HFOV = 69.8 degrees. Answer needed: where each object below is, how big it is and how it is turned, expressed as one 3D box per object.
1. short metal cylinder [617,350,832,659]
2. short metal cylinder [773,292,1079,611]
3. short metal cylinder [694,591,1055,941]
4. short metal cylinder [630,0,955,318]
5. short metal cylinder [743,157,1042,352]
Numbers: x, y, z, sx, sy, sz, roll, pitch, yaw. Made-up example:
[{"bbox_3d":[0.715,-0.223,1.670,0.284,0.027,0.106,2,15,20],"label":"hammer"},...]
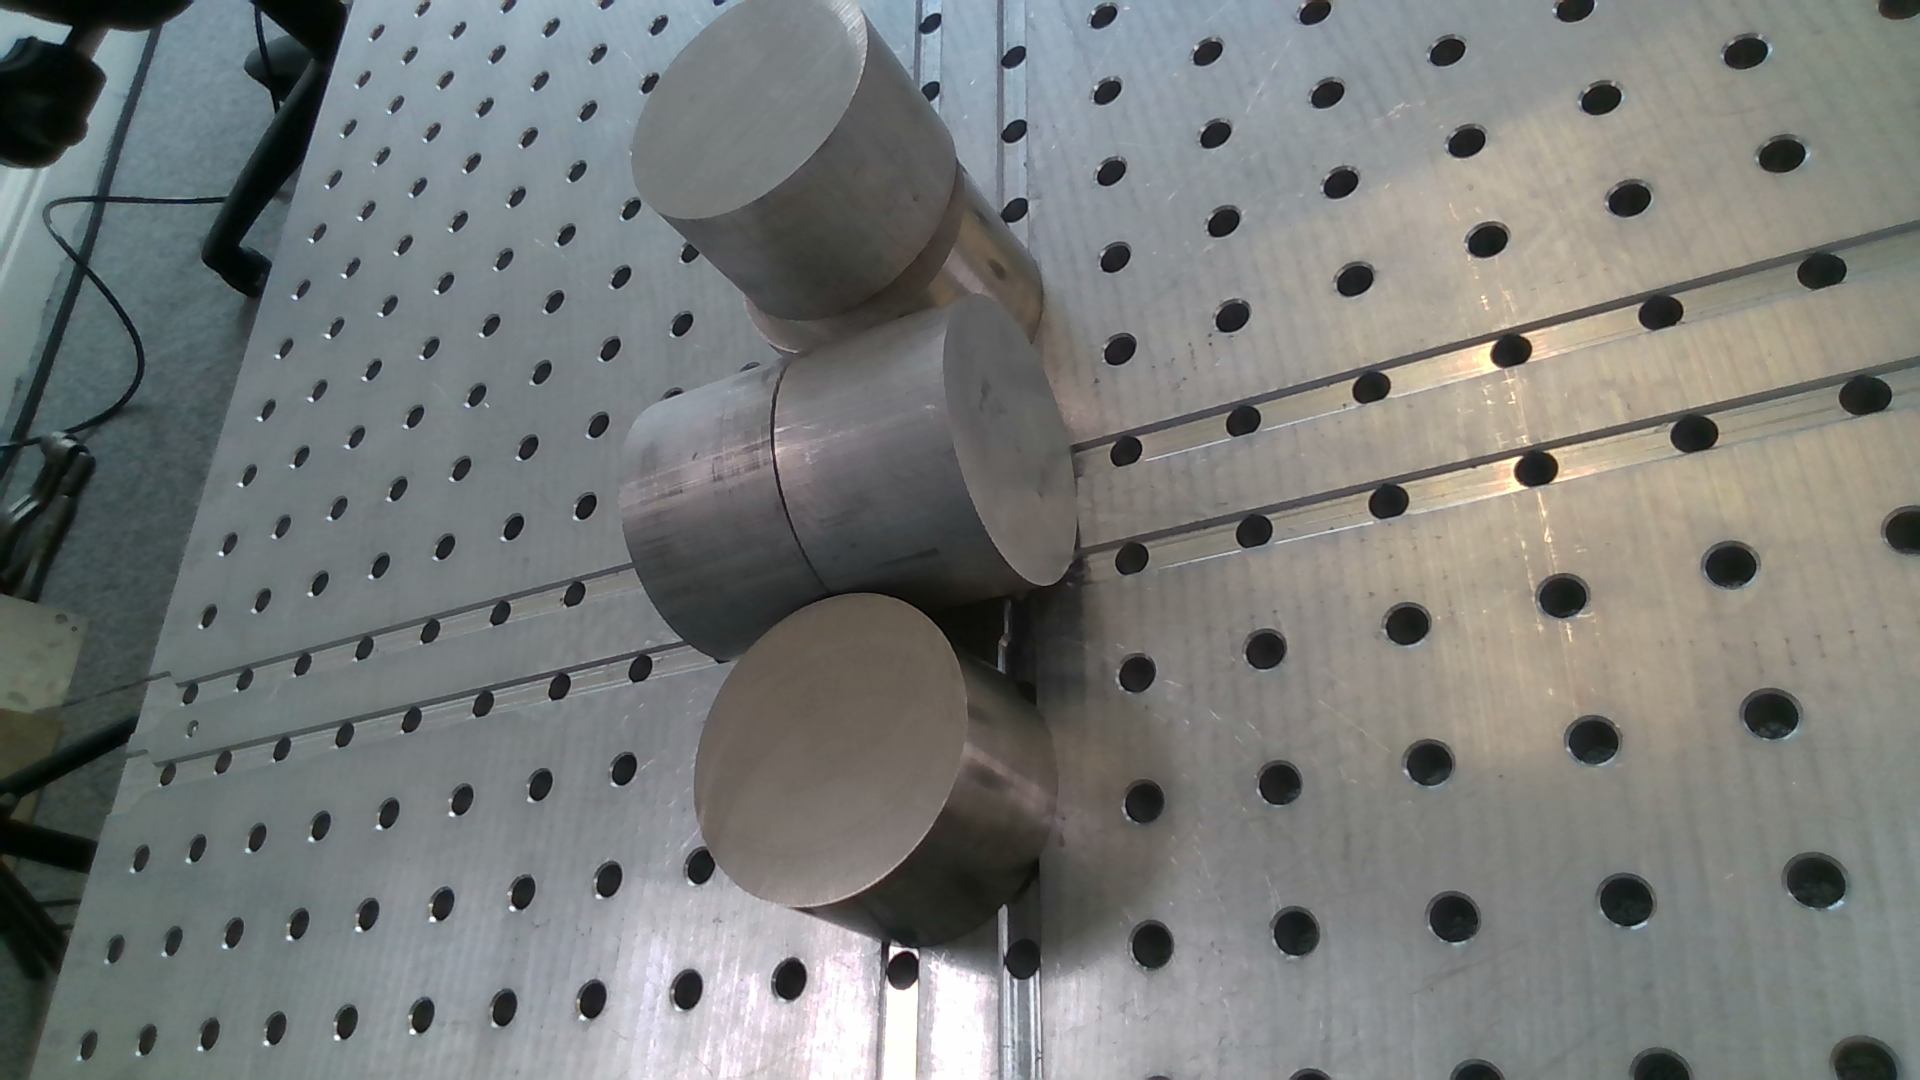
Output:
[{"bbox_3d":[-0.053,-0.010,0.397,0.050,0.080,0.080,-15,58,24],"label":"short metal cylinder"},{"bbox_3d":[-0.007,-0.022,0.376,0.050,0.080,0.080,-14,59,26],"label":"short metal cylinder"},{"bbox_3d":[-0.022,0.060,0.360,0.080,0.050,0.080,-14,59,25],"label":"short metal cylinder"},{"bbox_3d":[-0.049,-0.113,0.403,0.080,0.050,0.080,-14,59,25],"label":"short metal cylinder"},{"bbox_3d":[-0.021,-0.081,0.435,0.080,0.050,0.080,-14,59,25],"label":"short metal cylinder"}]
